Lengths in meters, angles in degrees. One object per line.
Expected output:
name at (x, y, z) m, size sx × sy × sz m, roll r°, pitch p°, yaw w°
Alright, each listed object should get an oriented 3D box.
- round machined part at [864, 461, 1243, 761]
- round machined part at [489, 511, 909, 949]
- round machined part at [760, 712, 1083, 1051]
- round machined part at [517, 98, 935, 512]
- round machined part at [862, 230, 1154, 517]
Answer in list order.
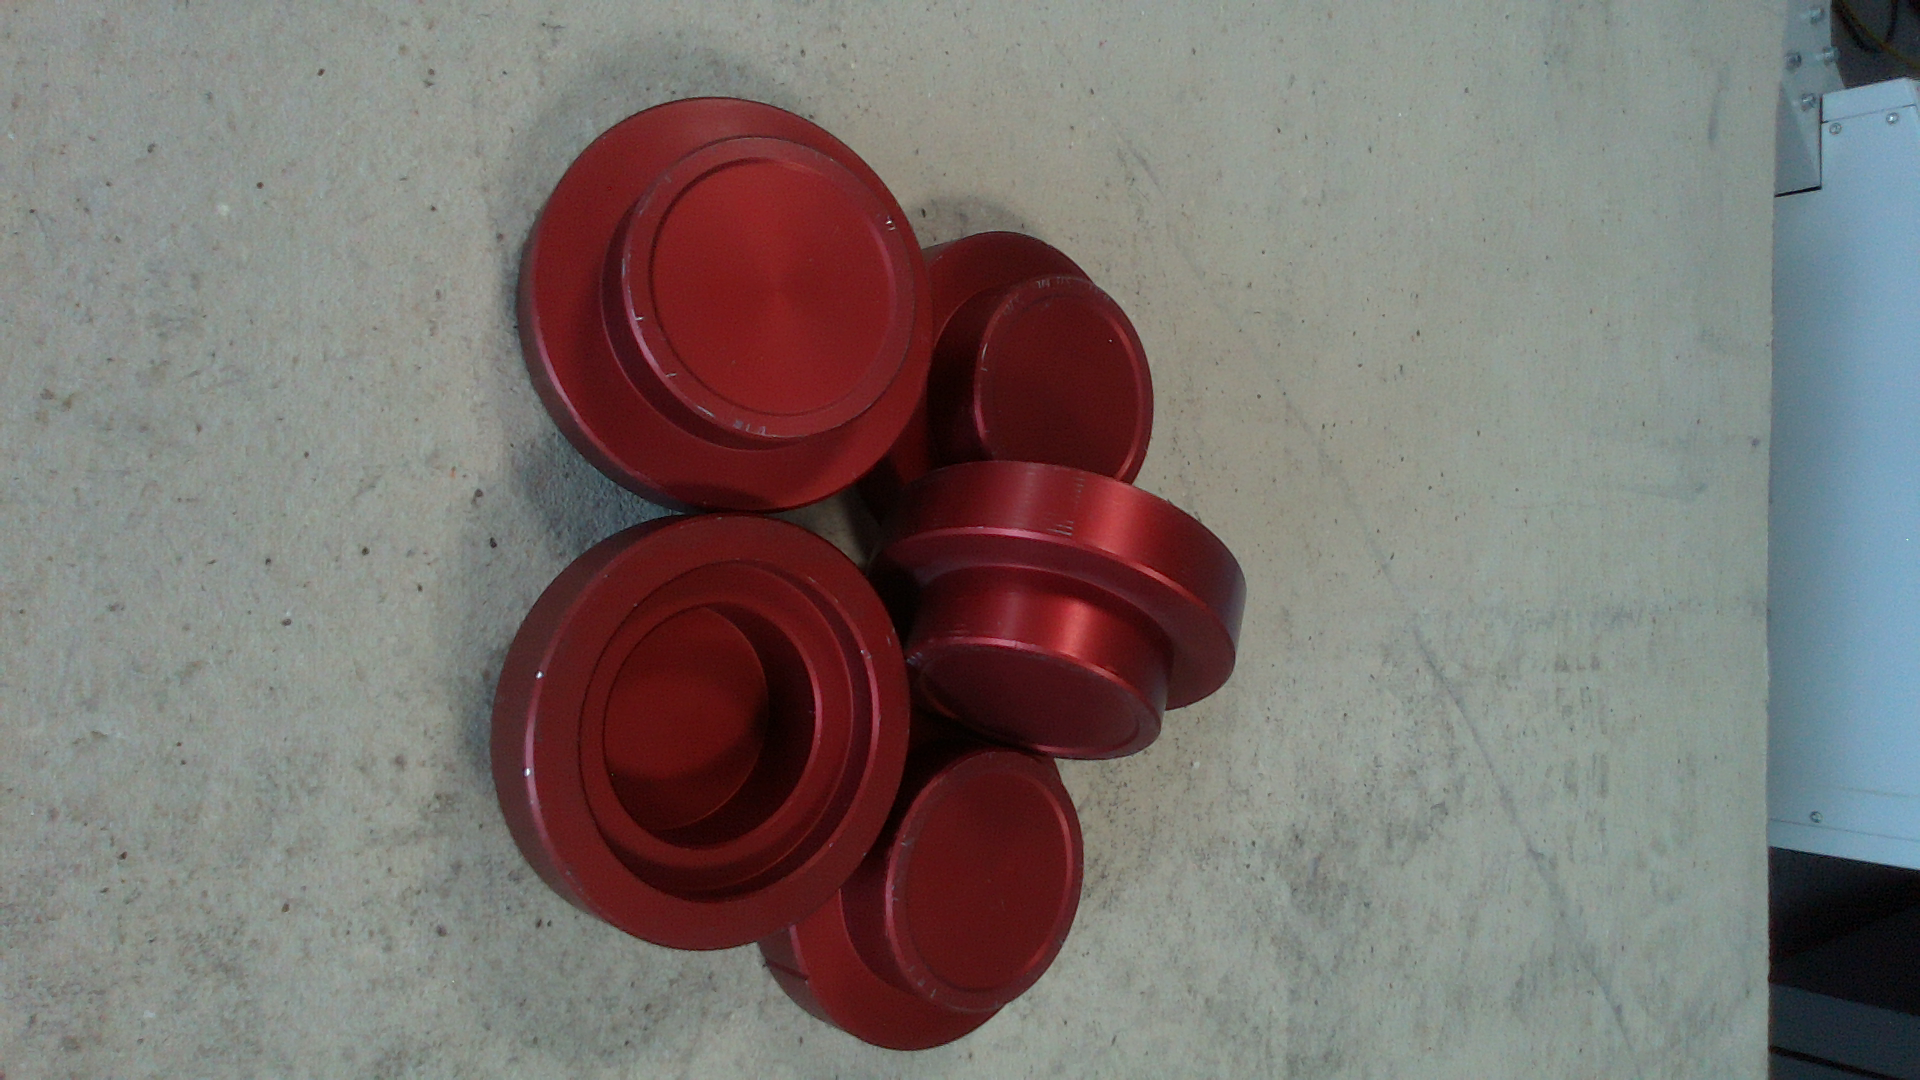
round machined part at (0.022, 0.024, 0.356) m, size 0.098 × 0.098 × 0.042 m, roll 36°, pitch 54°, yaw -34°
round machined part at (-0.063, 0.042, 0.325) m, size 0.098 × 0.042 × 0.098 m, roll -2°, pitch 92°, yaw -40°
round machined part at (-0.005, 0.089, 0.374) m, size 0.098 × 0.042 × 0.098 m, roll 2°, pitch 87°, yaw -40°
round machined part at (-0.050, -0.055, 0.323) m, size 0.098 × 0.042 × 0.098 m, roll 1°, pitch 88°, yaw -26°
round machined part at (0.017, -0.039, 0.392) m, size 0.098 × 0.042 × 0.098 m, roll 1°, pitch 88°, yaw -40°
